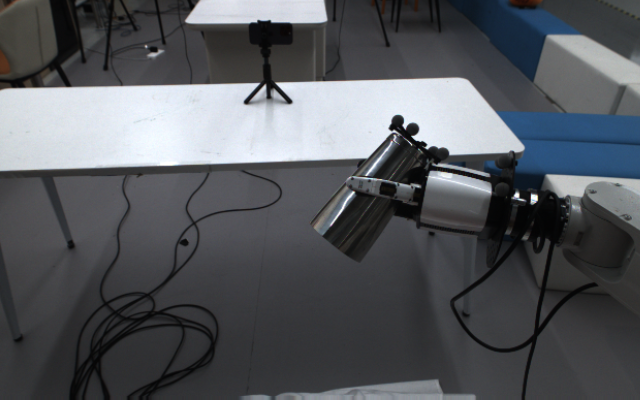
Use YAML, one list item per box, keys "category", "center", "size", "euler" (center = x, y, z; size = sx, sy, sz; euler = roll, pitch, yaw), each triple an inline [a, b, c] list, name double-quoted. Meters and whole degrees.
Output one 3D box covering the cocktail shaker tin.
- category: "cocktail shaker tin"
  center: [0.074, -0.011, 0.679]
  size: [0.170, 0.093, 0.093]
  euler: [-50, 46, 4]
